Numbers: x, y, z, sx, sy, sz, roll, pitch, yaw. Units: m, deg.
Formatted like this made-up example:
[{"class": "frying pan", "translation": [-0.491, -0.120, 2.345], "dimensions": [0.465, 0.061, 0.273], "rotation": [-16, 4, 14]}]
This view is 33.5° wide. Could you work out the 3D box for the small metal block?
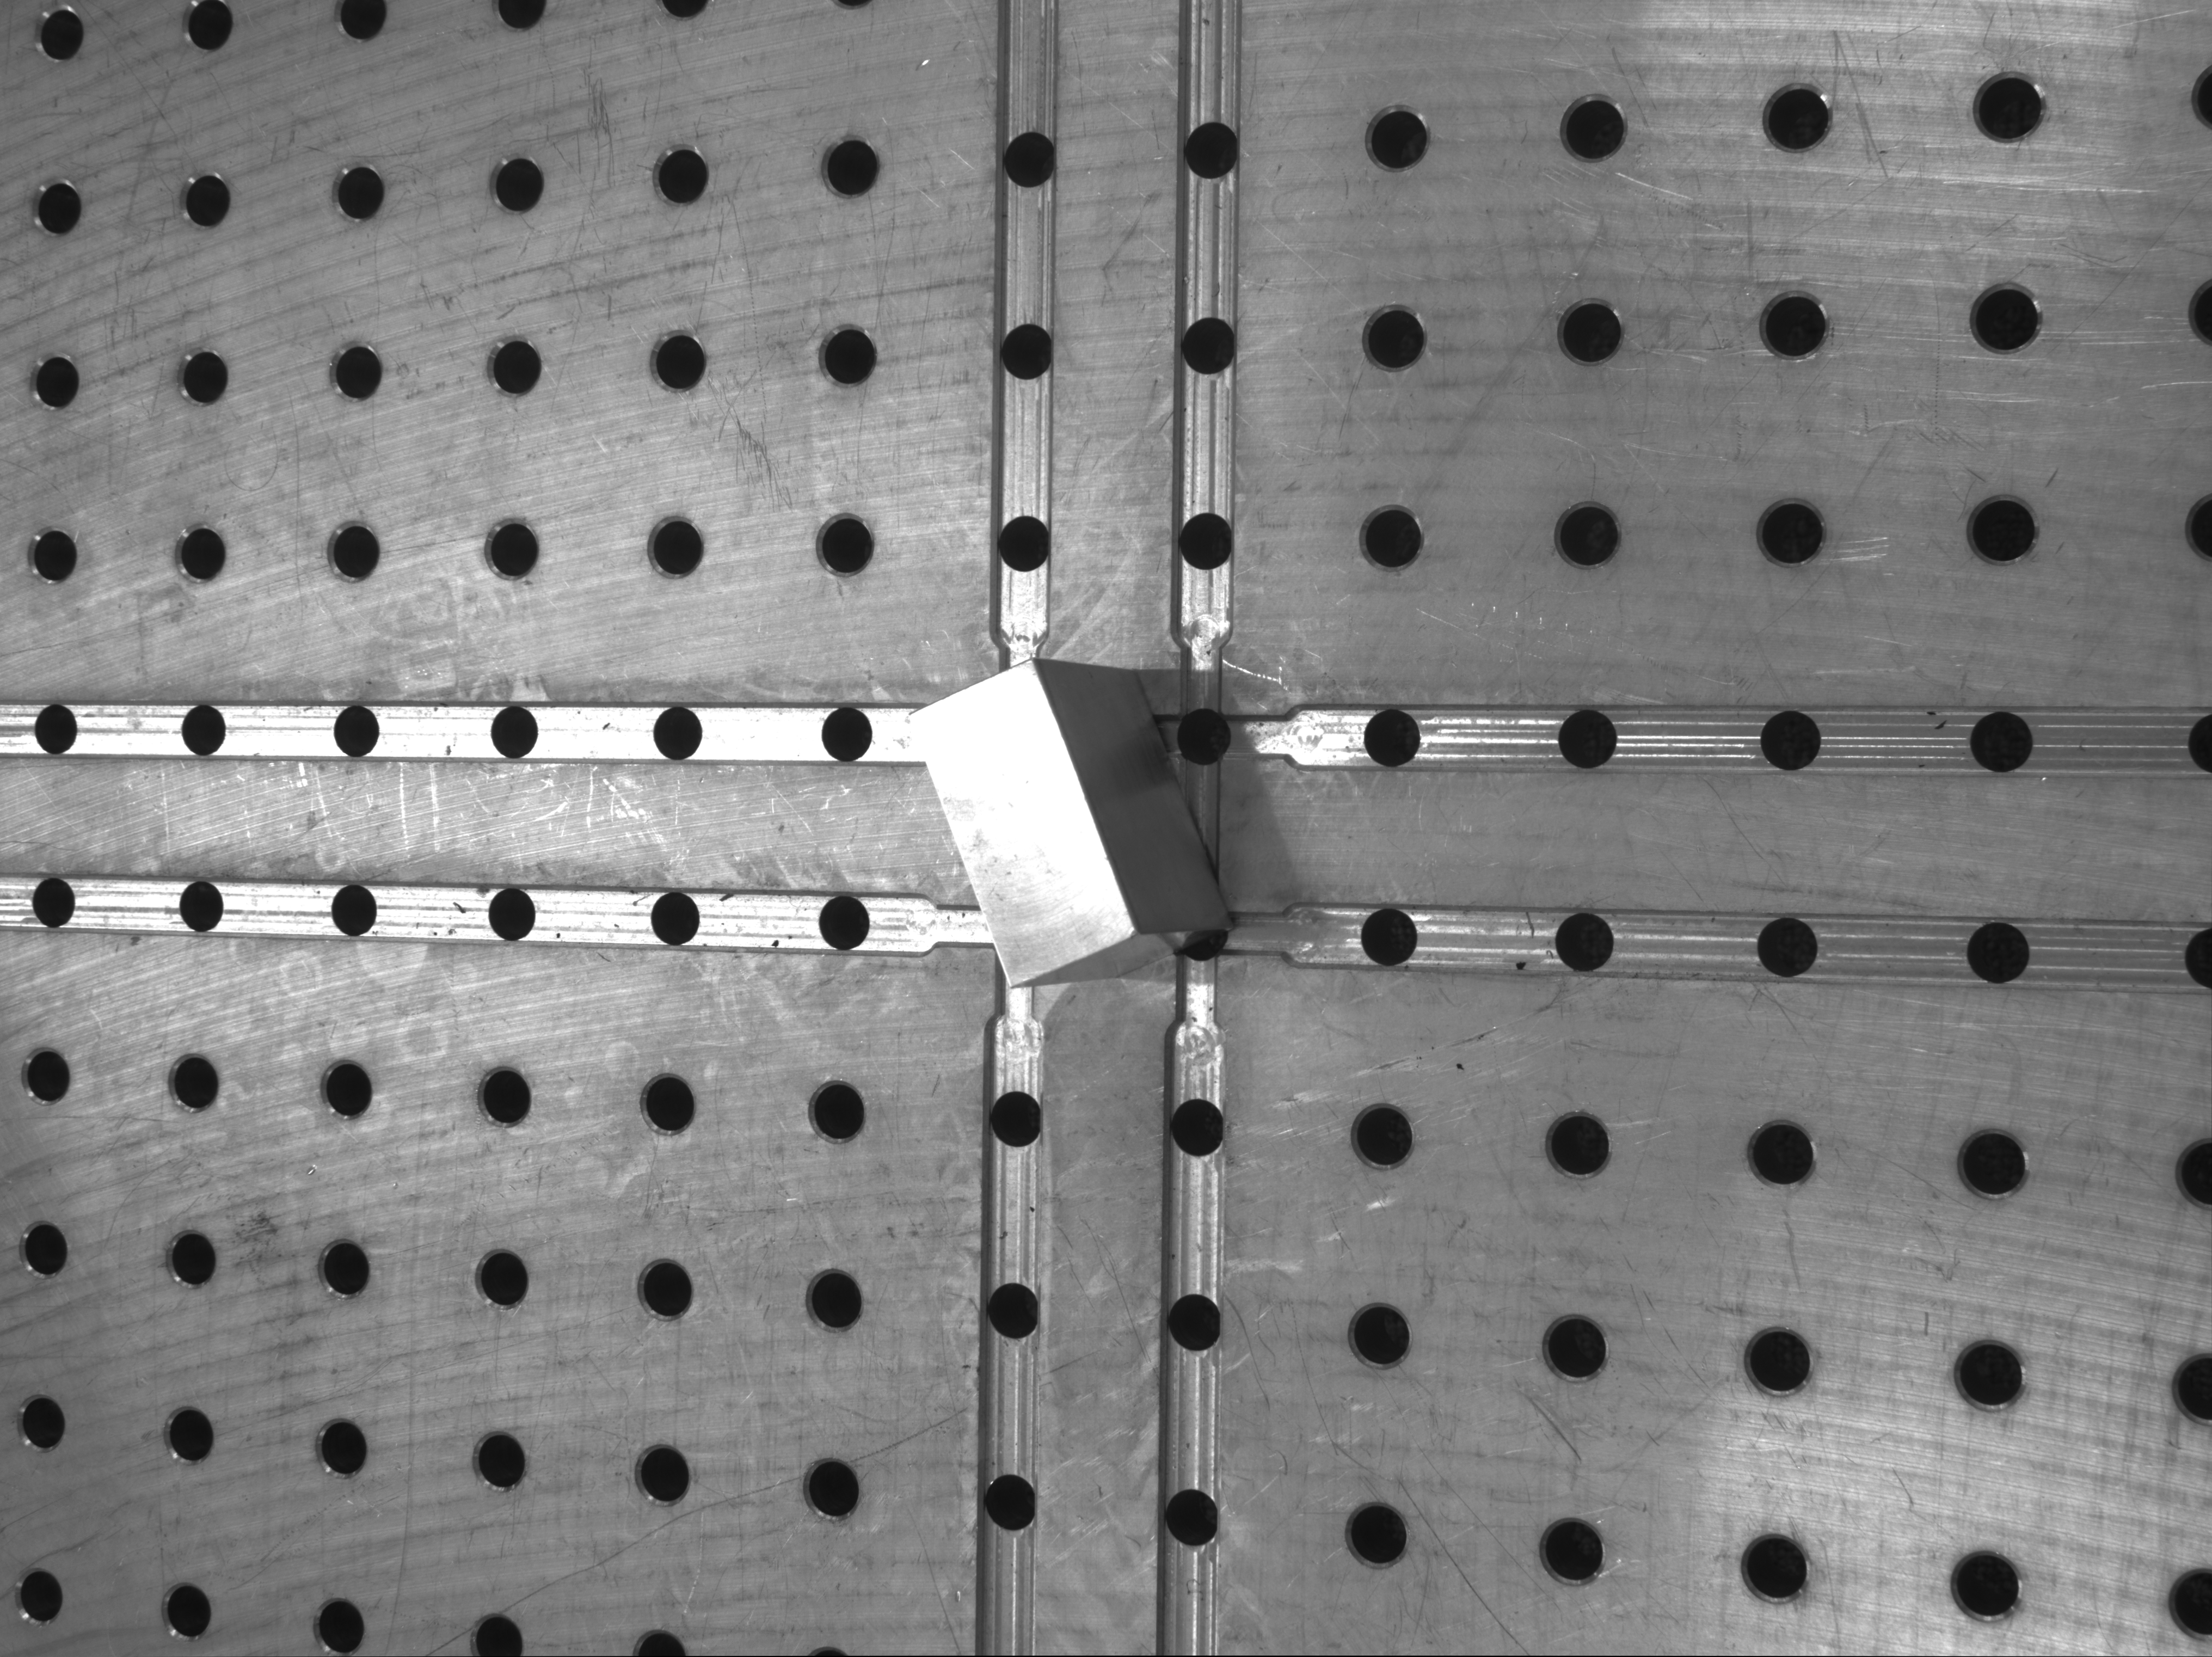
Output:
[{"class": "small metal block", "translation": [-0.005, -0.001, 0.638], "dimensions": [0.025, 0.050, 0.050], "rotation": [-24, 82, 18]}]
